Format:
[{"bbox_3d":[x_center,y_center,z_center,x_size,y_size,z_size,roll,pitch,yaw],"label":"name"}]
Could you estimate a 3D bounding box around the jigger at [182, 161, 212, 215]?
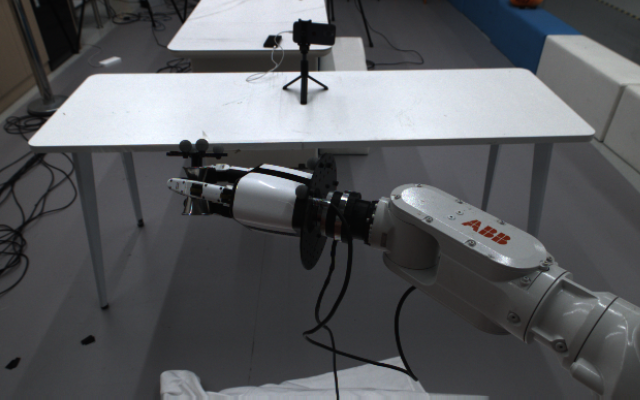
[{"bbox_3d":[-0.174,-0.014,0.690,0.043,0.071,0.043,0,3,0],"label":"jigger"}]
